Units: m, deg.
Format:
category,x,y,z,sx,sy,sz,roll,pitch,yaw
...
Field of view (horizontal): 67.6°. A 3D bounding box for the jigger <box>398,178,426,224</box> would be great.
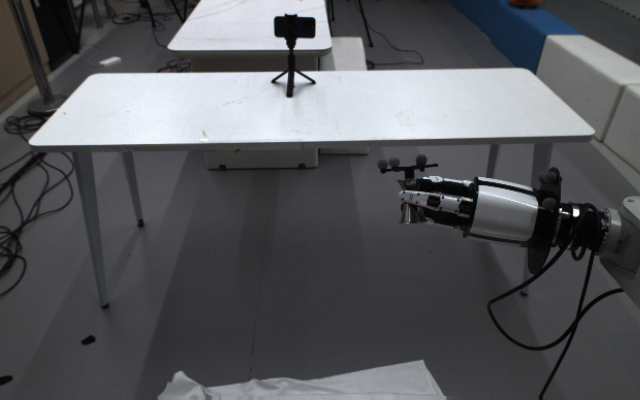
category,x,y,z,sx,sy,sz,roll,pitch,yaw
jigger,0.141,0.000,0.750,0.043,0.071,0.043,-4,1,0
